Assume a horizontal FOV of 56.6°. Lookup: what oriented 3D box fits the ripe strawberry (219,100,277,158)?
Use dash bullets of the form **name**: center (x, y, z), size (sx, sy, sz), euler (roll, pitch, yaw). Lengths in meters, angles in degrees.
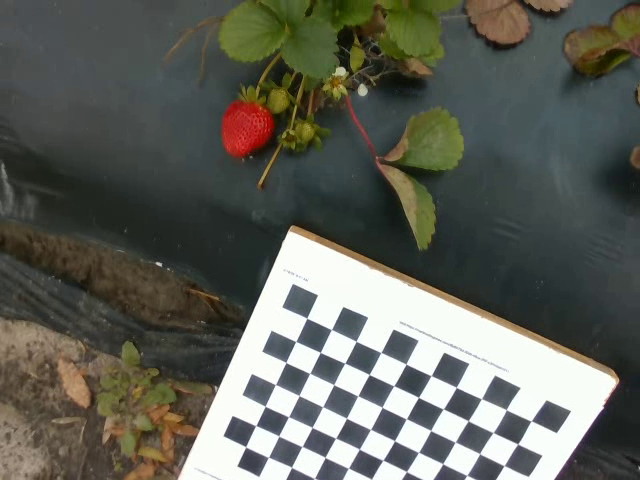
- **ripe strawberry**: center (-0.019, -0.026, 0.138), size (0.018, 0.017, 0.014), euler (27, -27, -9)
